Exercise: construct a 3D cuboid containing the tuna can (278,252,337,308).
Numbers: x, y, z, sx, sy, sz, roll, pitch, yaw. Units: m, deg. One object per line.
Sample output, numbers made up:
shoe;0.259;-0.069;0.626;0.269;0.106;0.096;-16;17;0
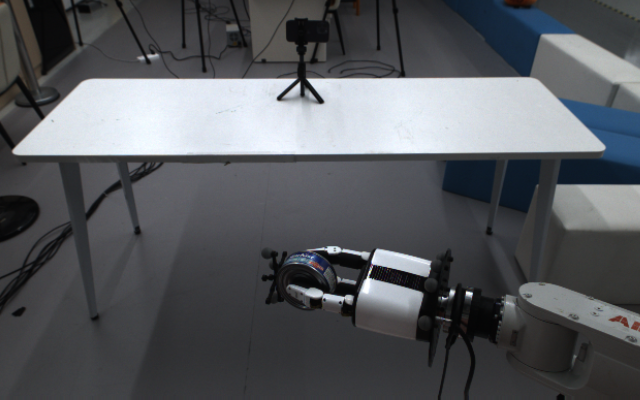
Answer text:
tuna can;-0.018;0.117;0.707;0.085;0.085;0.034;12;28;14
